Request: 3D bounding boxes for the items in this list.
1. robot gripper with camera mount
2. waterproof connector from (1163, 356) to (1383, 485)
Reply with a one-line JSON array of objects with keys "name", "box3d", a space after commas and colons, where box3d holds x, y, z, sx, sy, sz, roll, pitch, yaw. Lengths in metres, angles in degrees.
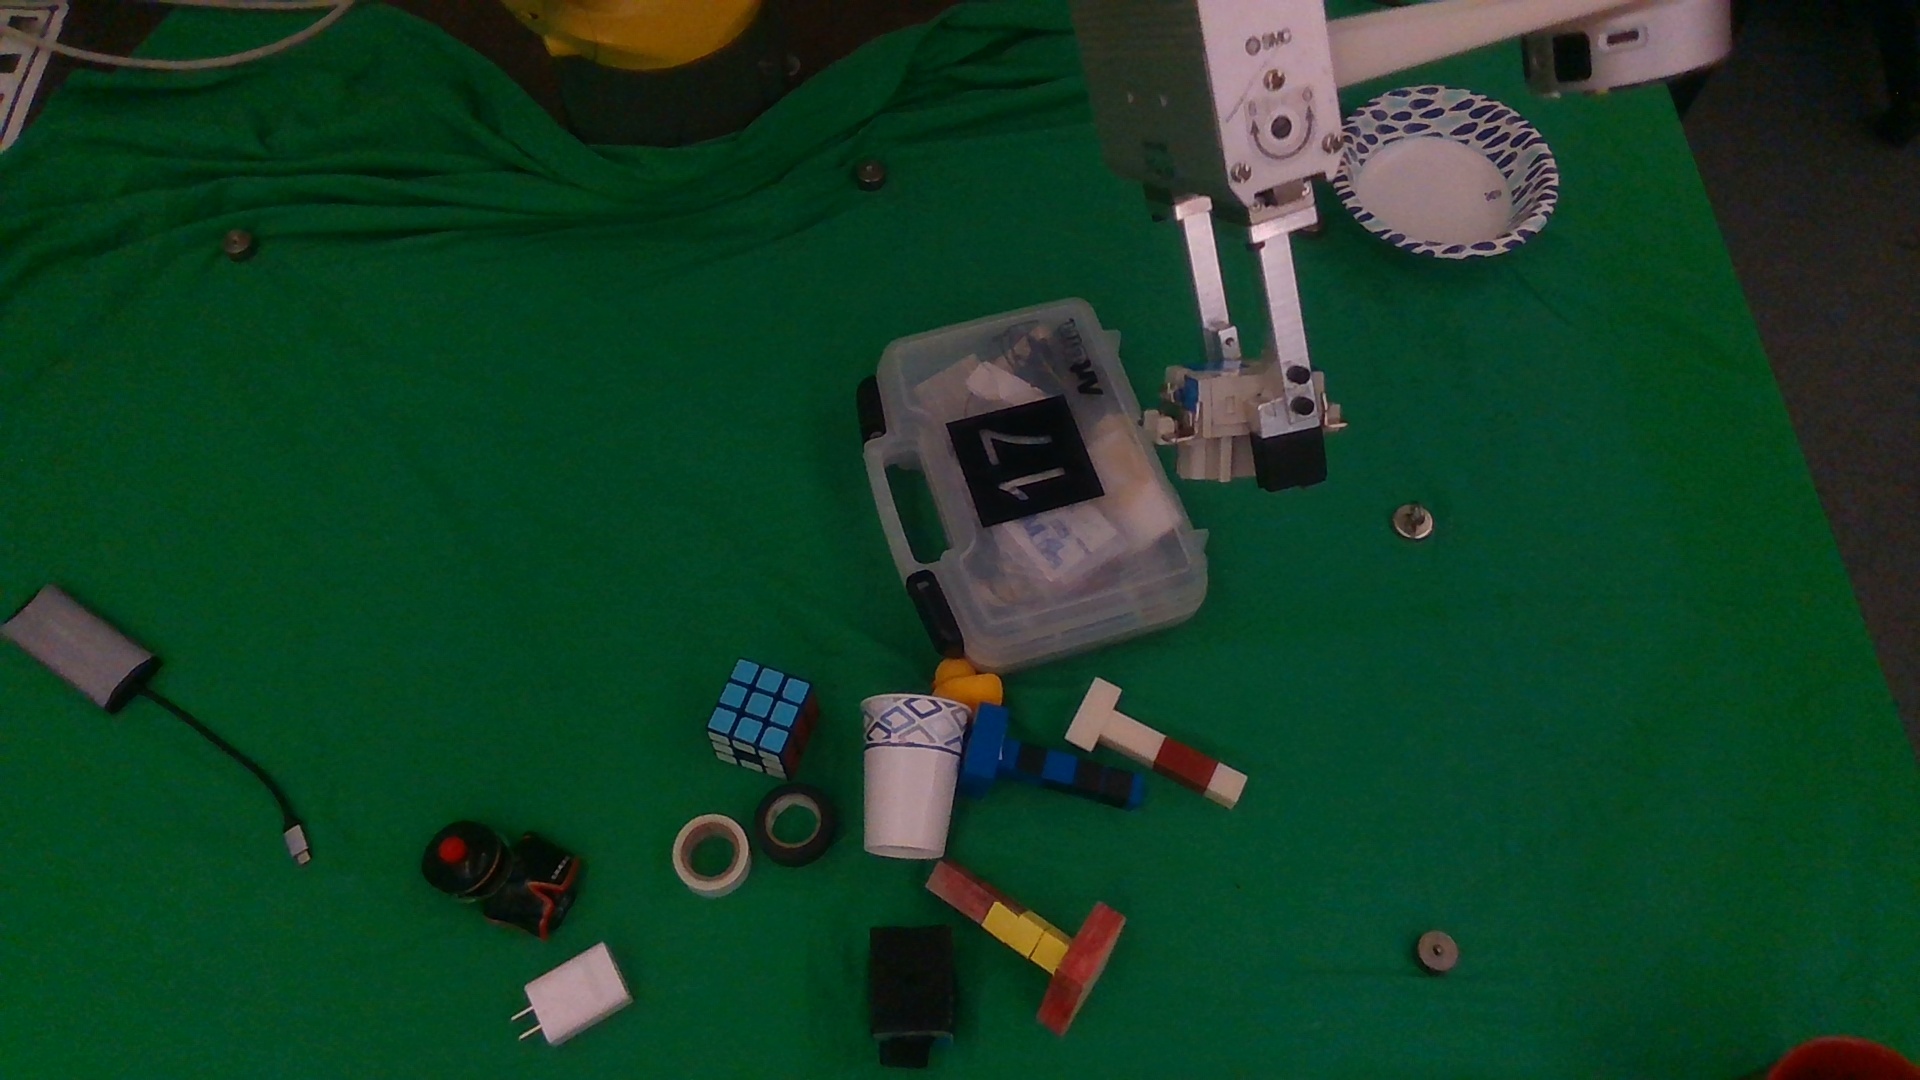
[{"name": "robot gripper with camera mount", "box3d": [0.164, -0.115, 0.448, 0.193, 0.158, 0.119, -15, 22, -8]}, {"name": "waterproof connector", "box3d": [0.102, -0.040, 0.456, 0.065, 0.035, 0.037, -6, 107, -12]}]
